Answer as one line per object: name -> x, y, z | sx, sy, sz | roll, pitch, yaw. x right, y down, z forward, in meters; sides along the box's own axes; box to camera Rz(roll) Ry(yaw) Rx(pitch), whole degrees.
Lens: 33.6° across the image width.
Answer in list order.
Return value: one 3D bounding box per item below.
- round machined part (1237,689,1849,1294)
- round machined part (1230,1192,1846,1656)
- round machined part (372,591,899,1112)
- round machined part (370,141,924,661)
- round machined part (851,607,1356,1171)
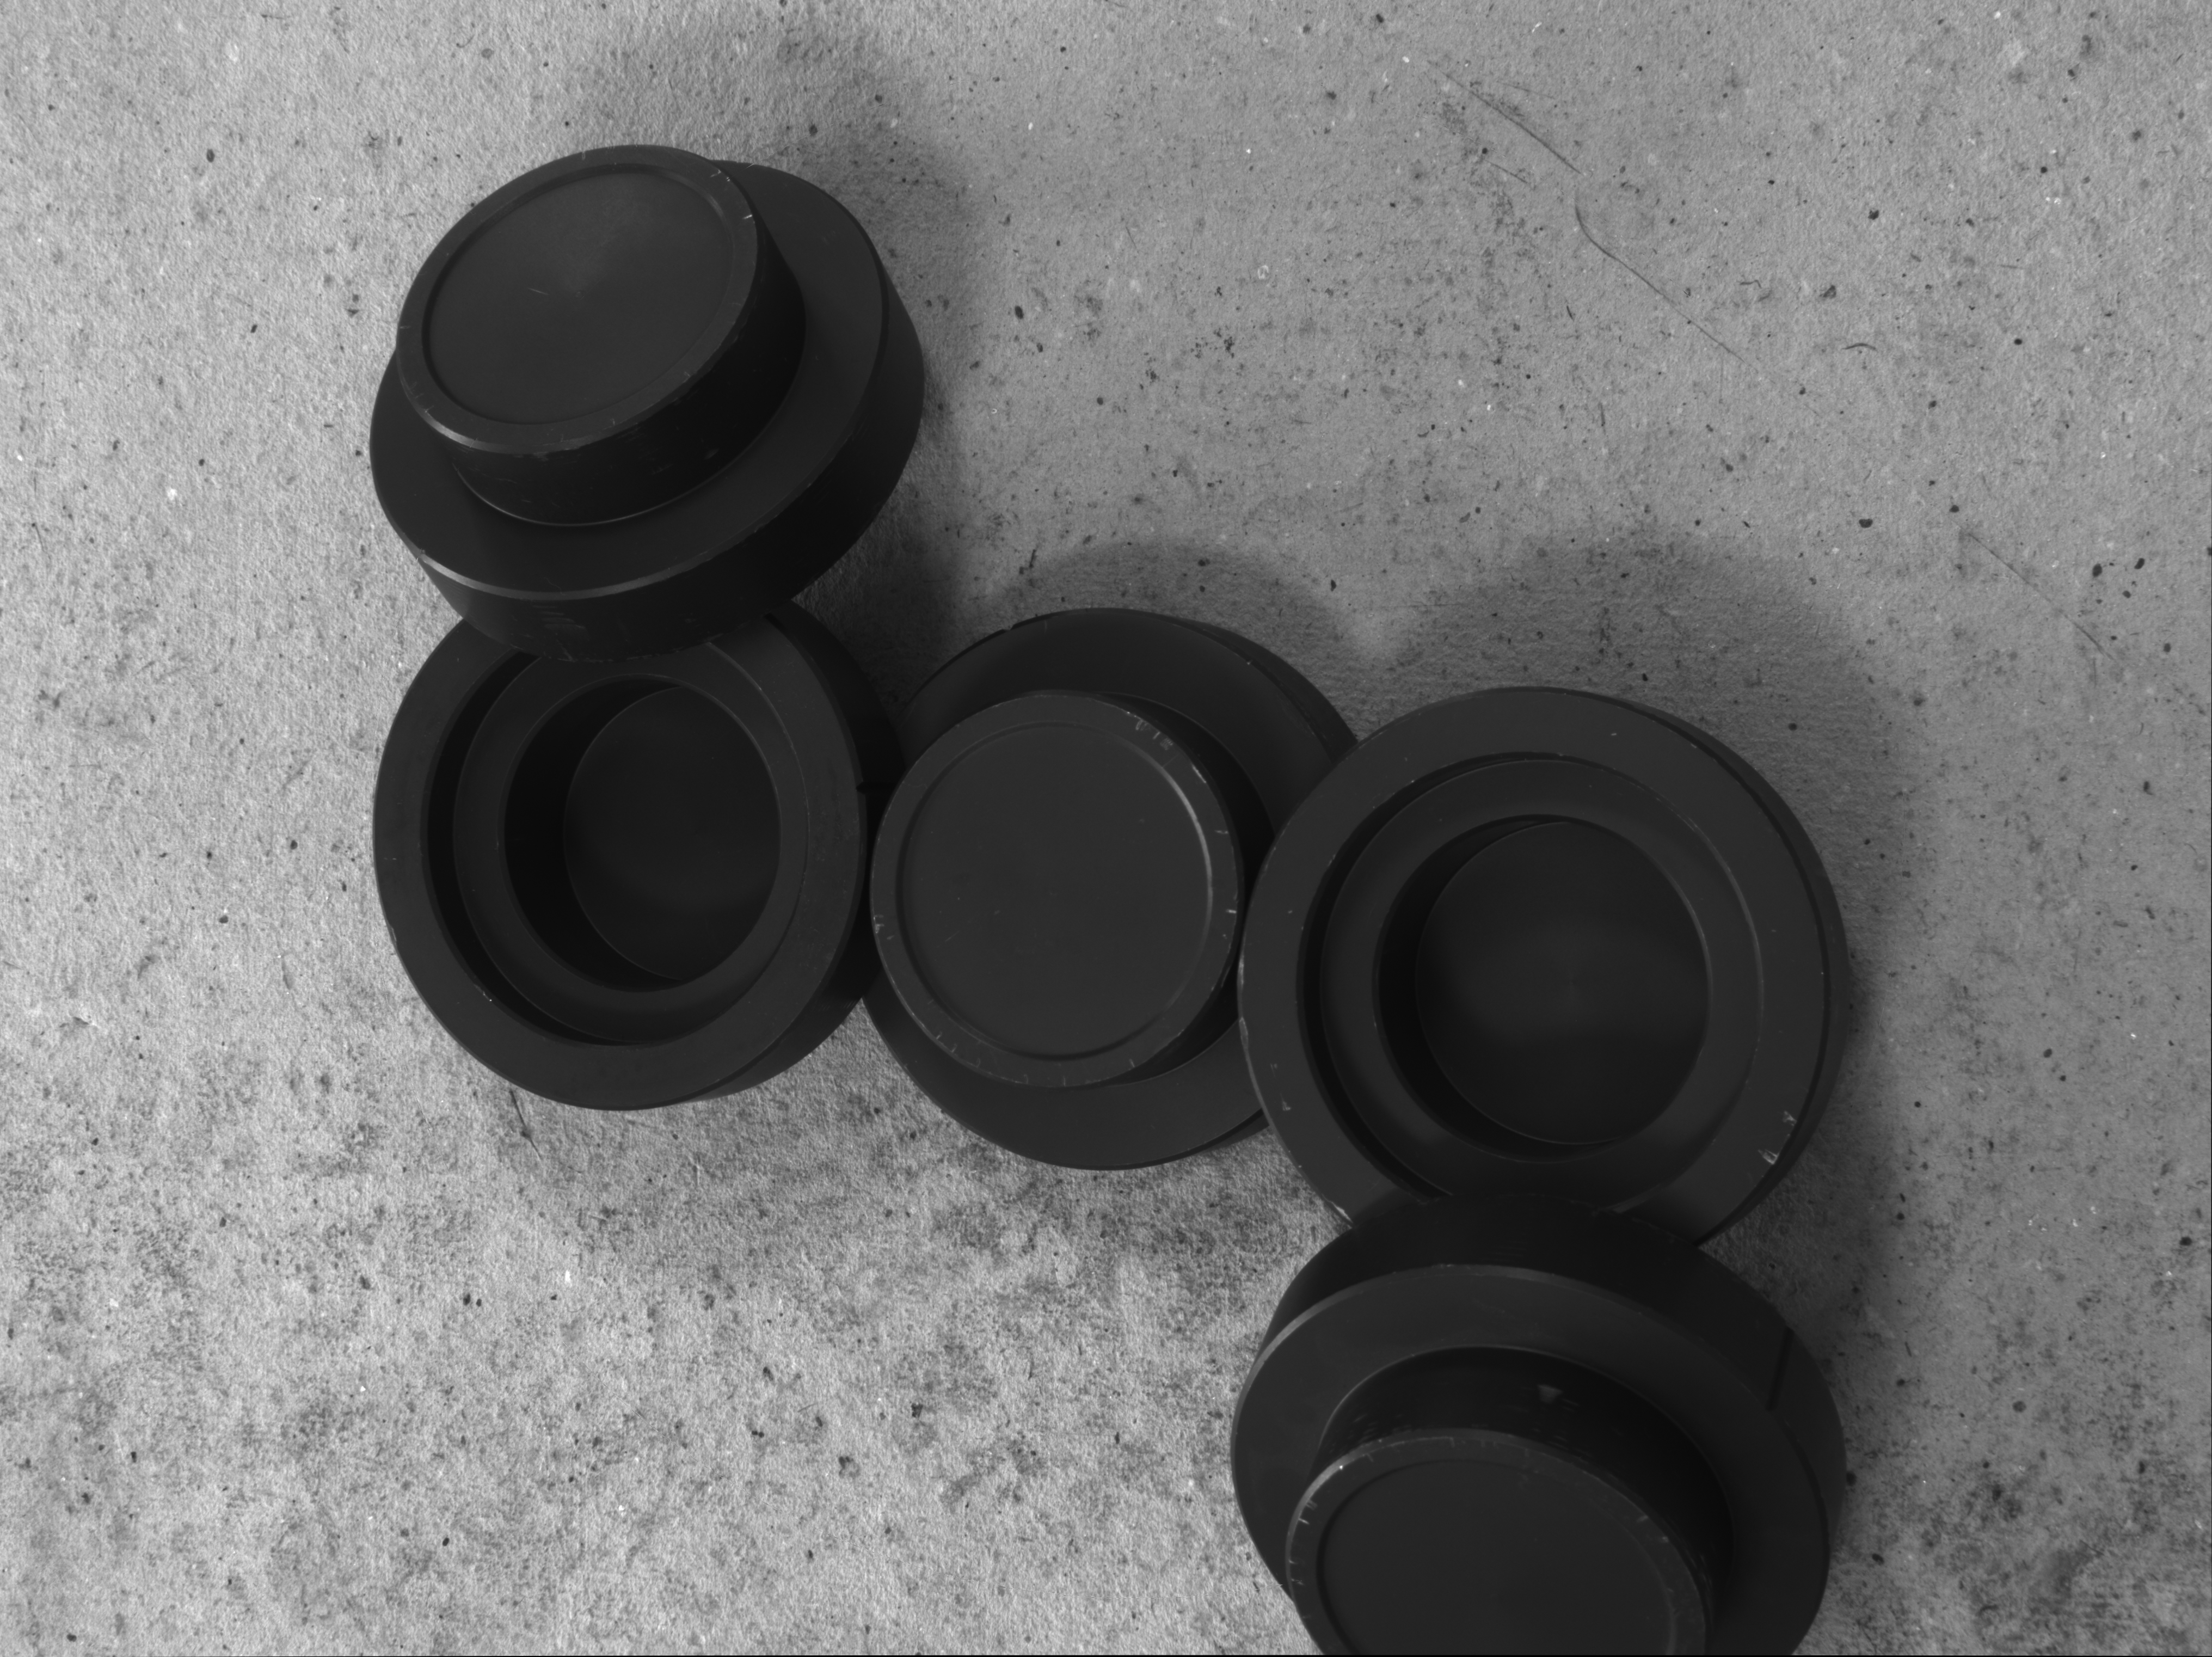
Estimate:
round machined part -> 0.075, 0.026, 0.610 | 0.098, 0.042, 0.098 | 0, 90, 21
round machined part -> 0.067, 0.110, 0.589 | 0.098, 0.042, 0.098 | 9, 122, 15
round machined part -> -0.080, 0.001, 0.666 | 0.098, 0.042, 0.098 | 0, 90, 21
round machined part -> -0.085, -0.081, 0.644 | 0.098, 0.042, 0.098 | -9, 56, 14
round machined part -> -0.002, 0.010, 0.637 | 0.098, 0.042, 0.098 | -1, 87, 21
